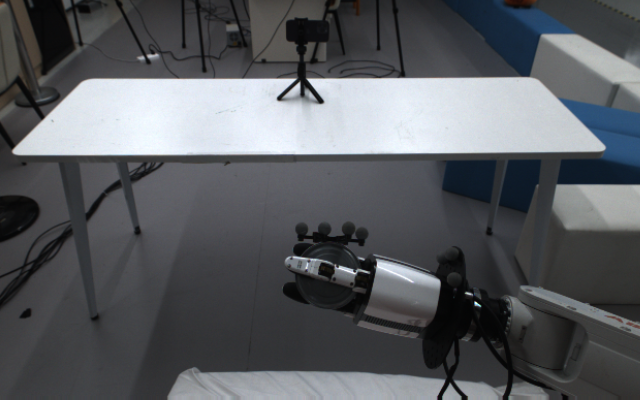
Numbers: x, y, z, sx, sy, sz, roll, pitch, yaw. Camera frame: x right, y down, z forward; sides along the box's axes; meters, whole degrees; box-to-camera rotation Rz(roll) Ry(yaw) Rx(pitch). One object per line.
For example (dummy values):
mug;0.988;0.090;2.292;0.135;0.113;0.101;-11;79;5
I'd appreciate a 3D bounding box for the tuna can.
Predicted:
tuna can;0.013;0.102;0.623;0.085;0.034;0.085;0;75;0
